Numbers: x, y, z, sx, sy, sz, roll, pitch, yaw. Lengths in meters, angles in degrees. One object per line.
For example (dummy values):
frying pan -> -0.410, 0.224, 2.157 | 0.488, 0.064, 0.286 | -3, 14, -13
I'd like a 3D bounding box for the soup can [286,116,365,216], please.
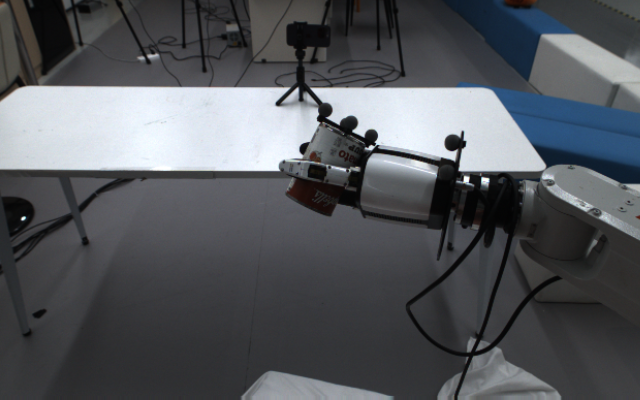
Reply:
soup can -> 0.008, -0.038, 0.617 | 0.067, 0.101, 0.067 | 26, 6, -3
